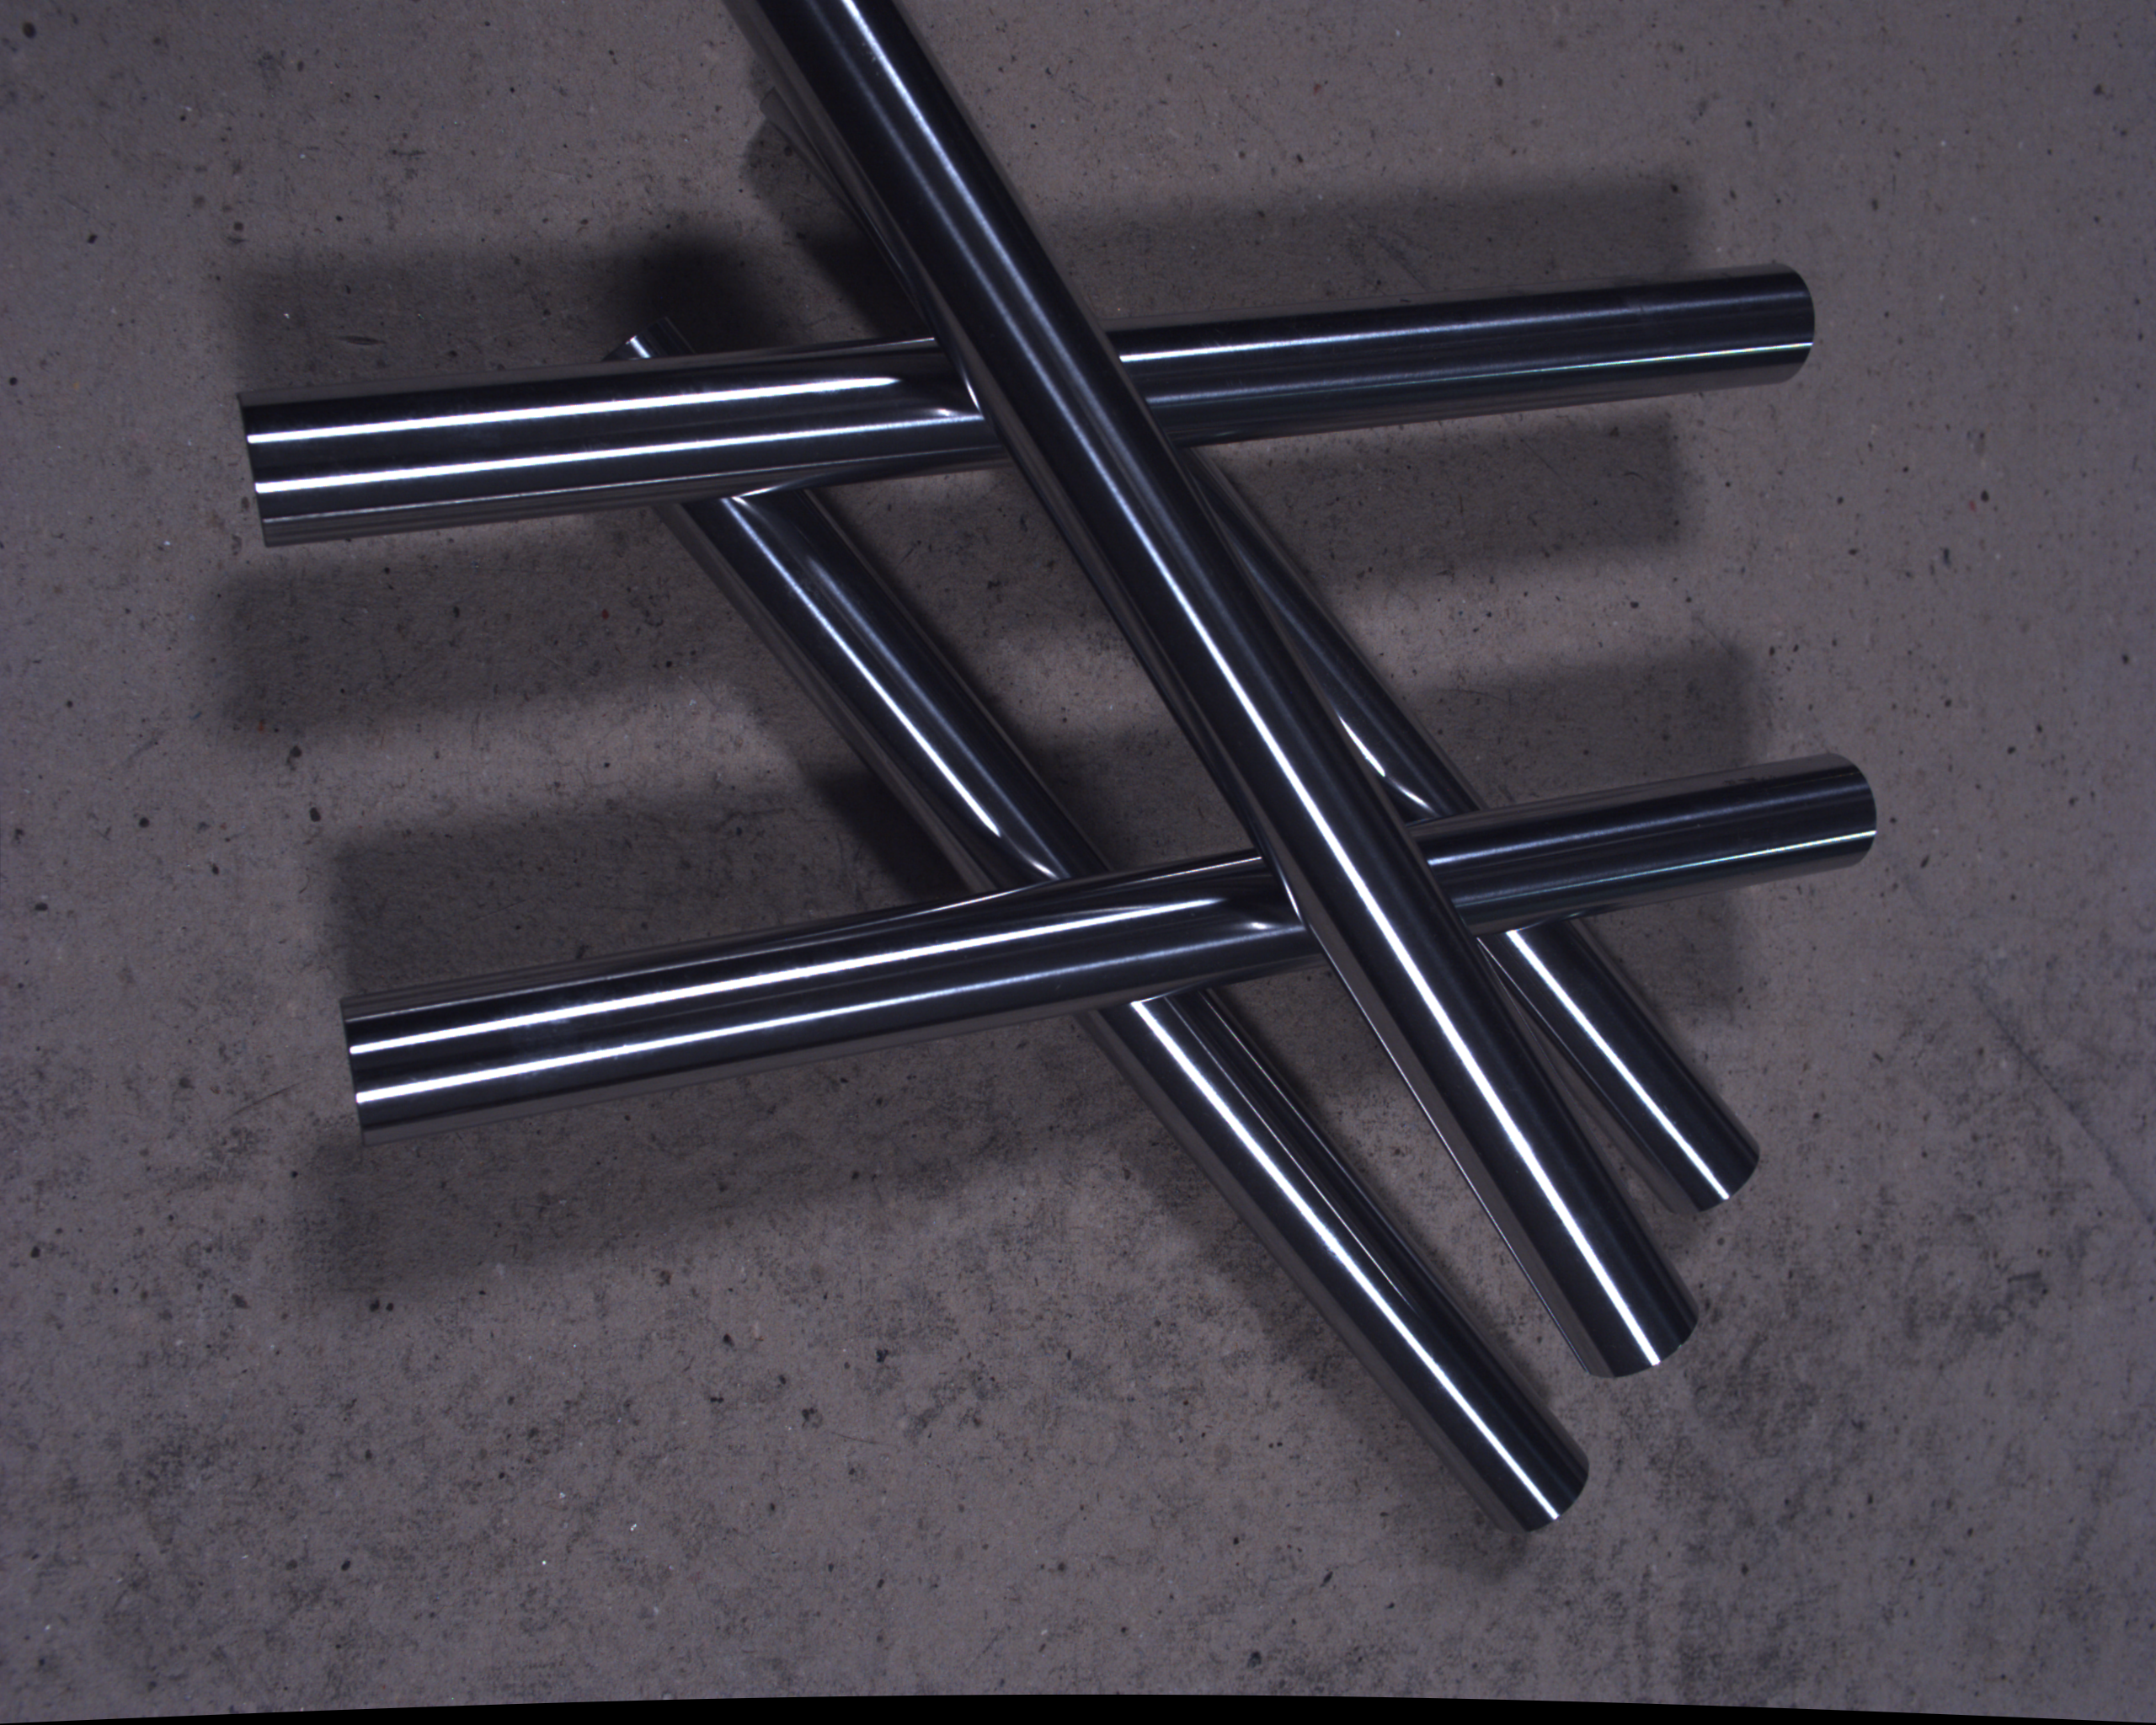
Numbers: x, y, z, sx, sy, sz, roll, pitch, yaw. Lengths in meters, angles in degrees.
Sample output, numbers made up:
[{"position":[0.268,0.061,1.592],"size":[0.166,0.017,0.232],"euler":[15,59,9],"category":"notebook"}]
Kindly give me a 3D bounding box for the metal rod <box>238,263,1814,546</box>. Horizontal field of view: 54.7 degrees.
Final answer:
[{"position":[0.007,-0.089,0.387],"size":[0.303,0.025,0.025],"euler":[-10,94,-20],"category":"metal rod"}]

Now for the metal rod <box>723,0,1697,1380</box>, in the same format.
[{"position":[0.027,-0.032,0.368],"size":[0.025,0.025,0.299],"euler":[-37,102,-17],"category":"metal rod"}]

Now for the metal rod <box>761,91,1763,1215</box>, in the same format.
[{"position":[0.046,-0.040,0.428],"size":[0.025,0.025,0.300],"euler":[-45,104,-15],"category":"metal rod"}]

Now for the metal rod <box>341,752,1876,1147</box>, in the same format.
[{"position":[0.022,0.011,0.393],"size":[0.303,0.025,0.025],"euler":[-9,93,-20],"category":"metal rod"}]

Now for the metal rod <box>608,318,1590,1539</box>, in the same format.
[{"position":[0.007,0.022,0.413],"size":[0.025,0.025,0.300],"euler":[-43,104,-15],"category":"metal rod"}]
